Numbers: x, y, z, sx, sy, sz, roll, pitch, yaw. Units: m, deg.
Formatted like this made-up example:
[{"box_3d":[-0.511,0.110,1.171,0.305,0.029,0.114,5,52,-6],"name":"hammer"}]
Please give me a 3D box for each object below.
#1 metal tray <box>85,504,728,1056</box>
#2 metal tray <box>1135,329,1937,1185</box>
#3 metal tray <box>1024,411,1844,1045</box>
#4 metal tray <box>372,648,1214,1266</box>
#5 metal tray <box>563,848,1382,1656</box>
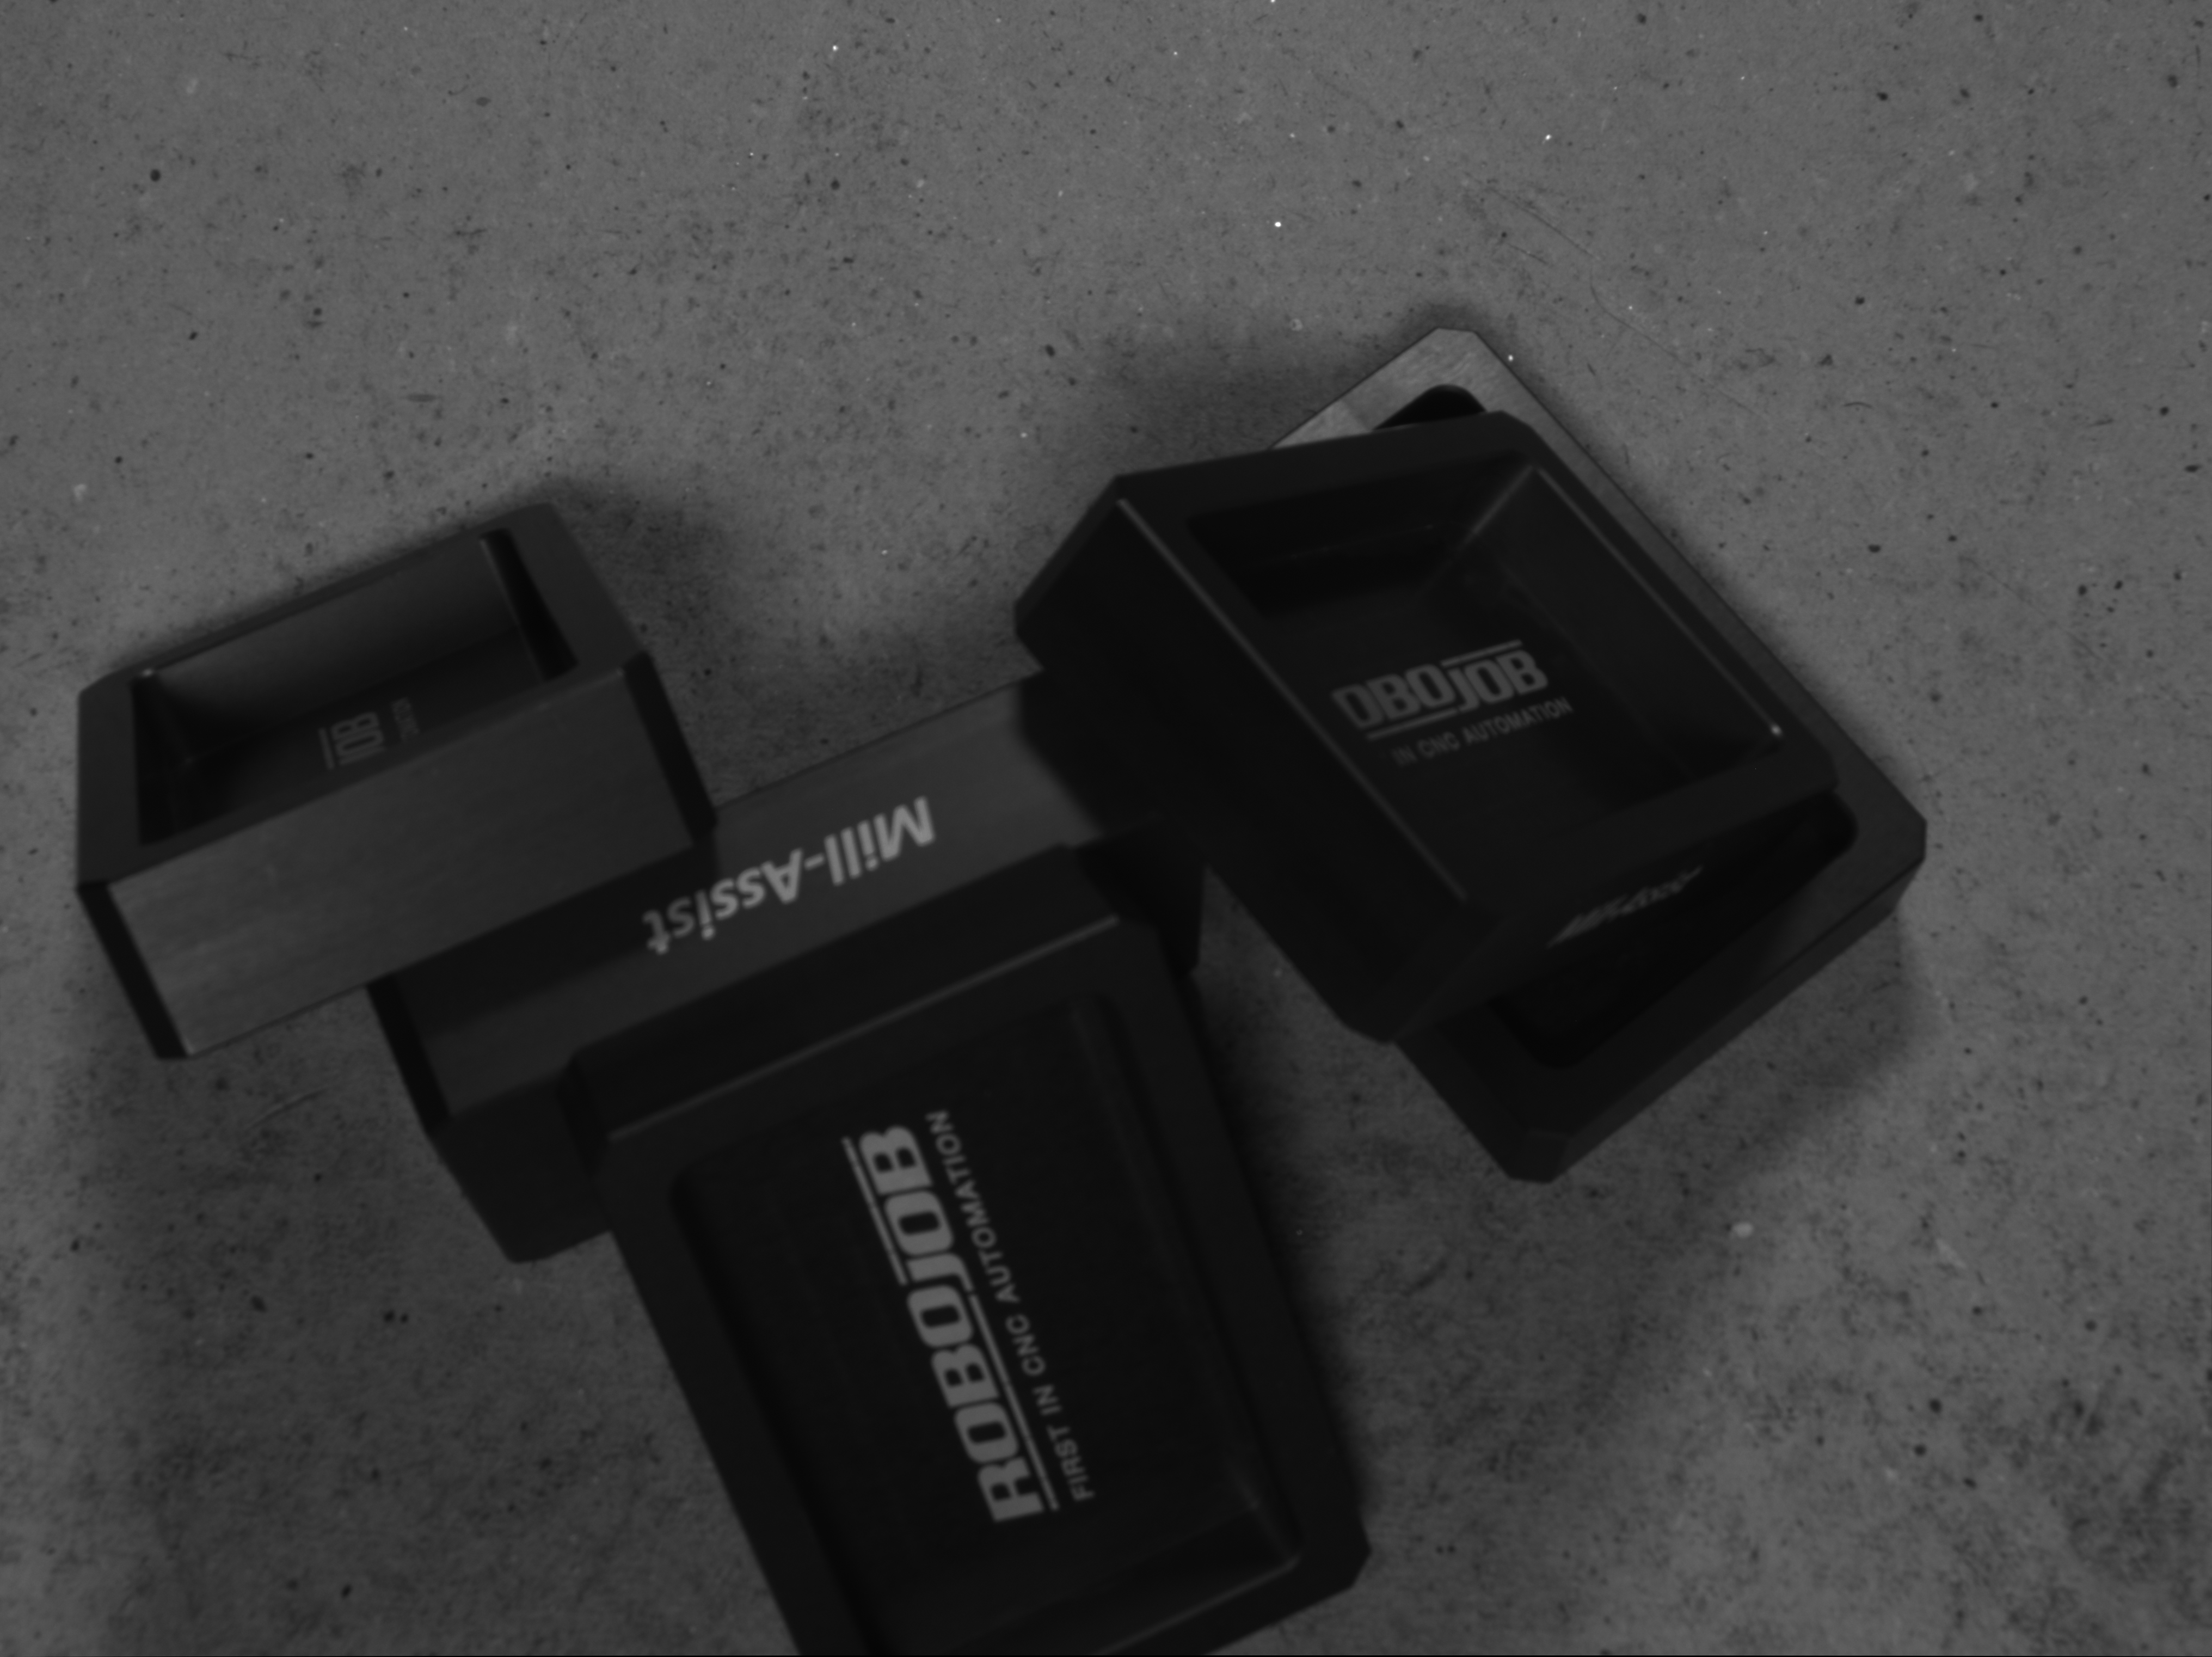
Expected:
[{"box_3d":[-0.118,-0.012,0.599,0.090,0.130,0.030,-23,110,-8],"name":"metal tray"},{"box_3d":[0.070,-0.014,0.648,0.090,0.030,0.130,-36,74,-12],"name":"metal tray"},{"box_3d":[0.056,-0.021,0.593,0.090,0.030,0.130,51,33,15],"name":"metal tray"},{"box_3d":[-0.047,0.023,0.602,0.130,0.090,0.030,-24,71,-8],"name":"metal tray"},{"box_3d":[-0.019,0.079,0.569,0.090,0.030,0.130,-23,116,-8],"name":"metal tray"}]
